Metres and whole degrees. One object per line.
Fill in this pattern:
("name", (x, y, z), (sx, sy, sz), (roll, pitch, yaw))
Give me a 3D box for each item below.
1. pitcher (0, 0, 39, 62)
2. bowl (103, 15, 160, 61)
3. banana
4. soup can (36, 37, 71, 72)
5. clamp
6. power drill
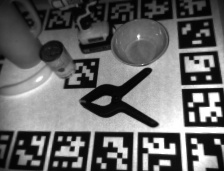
("pitcher", (-0.298, -0.179, 0.618), (0.188, 0.245, 0.132), (-24, 60, 3))
("bowl", (0.059, -0.129, 0.617), (0.161, 0.056, 0.161), (-5, 67, 12))
("banana", (-0.286, -0.034, 0.668), (0.197, 0.039, 0.073), (-24, 55, 0))
("soup can", (-0.169, -0.097, 0.631), (0.067, 0.103, 0.067), (-7, 57, 11))
("clamp", (-0.011, 0.018, 0.570), (0.201, 0.037, 0.165), (-3, 70, 12))
("power drill", (-0.062, -0.214, 0.588), (0.183, 0.189, 0.057), (-6, 65, 11))
